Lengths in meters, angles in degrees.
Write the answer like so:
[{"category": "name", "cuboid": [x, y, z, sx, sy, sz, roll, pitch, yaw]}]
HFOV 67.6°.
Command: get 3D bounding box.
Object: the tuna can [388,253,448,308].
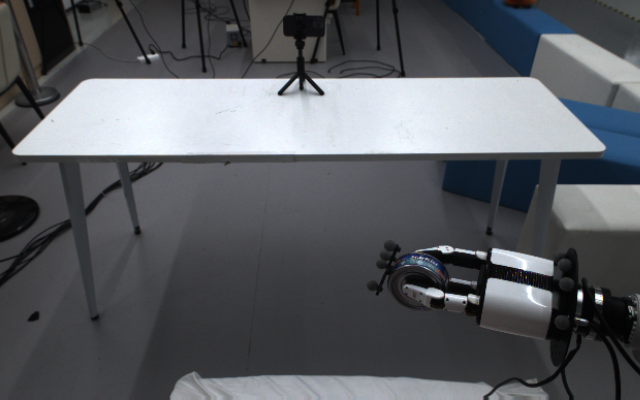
[{"category": "tuna can", "cuboid": [0.146, 0.118, 0.707, 0.085, 0.085, 0.034, 12, 29, 14]}]
